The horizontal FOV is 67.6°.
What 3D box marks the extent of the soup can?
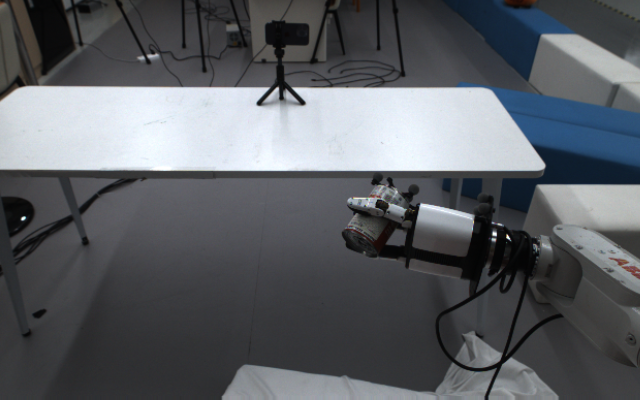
[{"bbox_3d":[0.090,0.032,0.774,0.067,0.067,0.101,26,66,30],"label":"soup can"}]
